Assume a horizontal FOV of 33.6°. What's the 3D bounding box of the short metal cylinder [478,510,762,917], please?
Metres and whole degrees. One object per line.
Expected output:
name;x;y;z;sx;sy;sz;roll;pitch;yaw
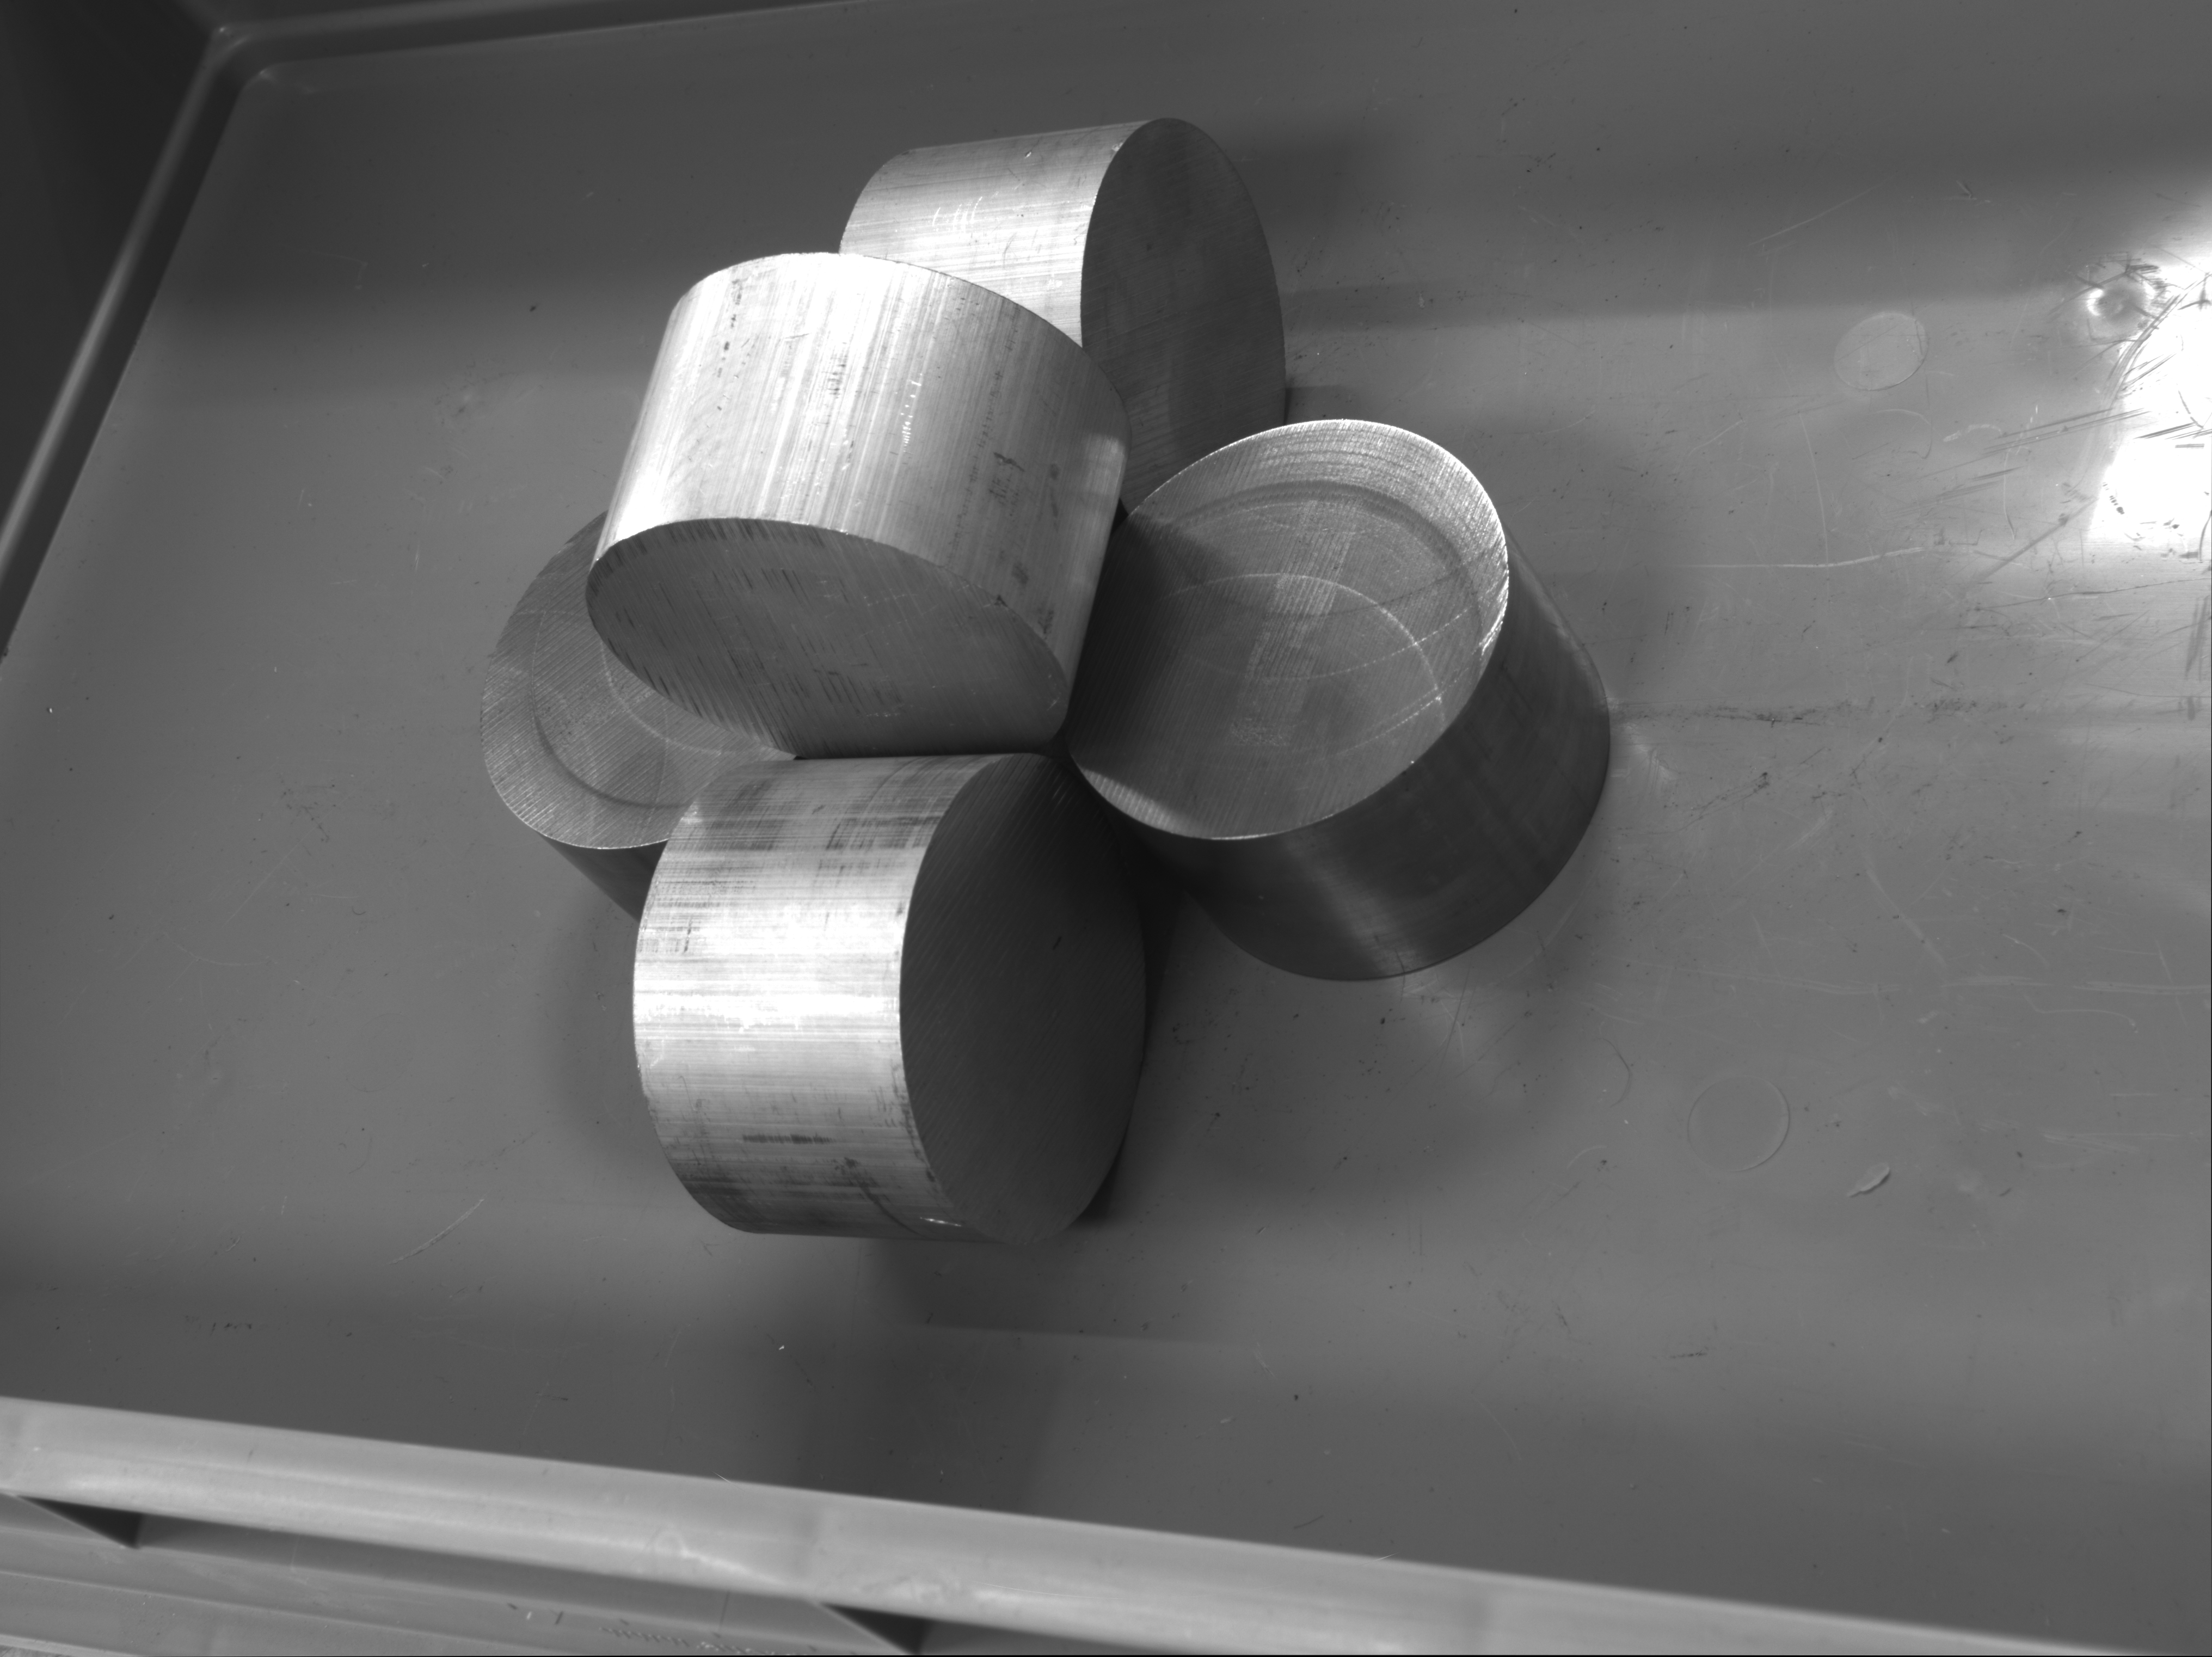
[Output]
short metal cylinder;-0.068;-0.020;0.676;0.080;0.050;0.080;-14;56;21

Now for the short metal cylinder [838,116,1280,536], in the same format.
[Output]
short metal cylinder;-0.008;-0.086;0.664;0.050;0.080;0.080;-2;61;27

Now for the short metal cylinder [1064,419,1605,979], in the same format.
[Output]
short metal cylinder;0.038;-0.022;0.619;0.080;0.050;0.080;-14;56;21

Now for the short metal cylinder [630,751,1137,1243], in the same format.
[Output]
short metal cylinder;-0.035;0.028;0.609;0.050;0.080;0.080;-2;61;27

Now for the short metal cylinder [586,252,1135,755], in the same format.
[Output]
short metal cylinder;-0.040;-0.050;0.603;0.080;0.080;0.050;-1;61;28
